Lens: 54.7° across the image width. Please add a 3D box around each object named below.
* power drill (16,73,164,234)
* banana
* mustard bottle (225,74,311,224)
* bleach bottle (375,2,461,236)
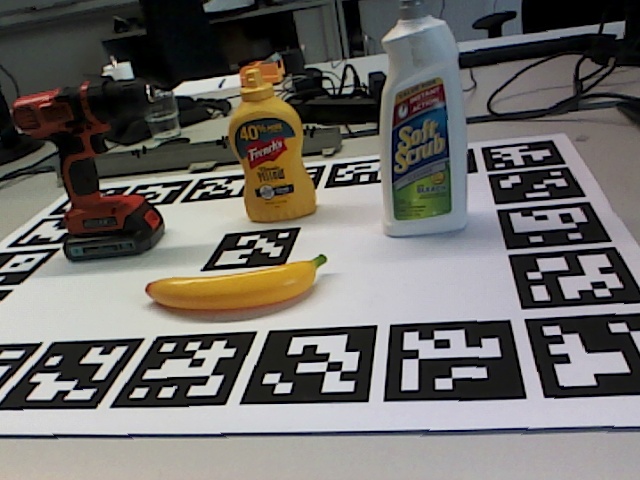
[{"bbox_3d":[-0.267,-0.108,0.783,0.185,0.186,0.057,-10,26,10],"label":"power drill"},{"bbox_3d":[-0.096,0.042,0.639,0.198,0.039,0.074,-9,28,10],"label":"banana"},{"bbox_3d":[-0.071,-0.117,0.795,0.096,0.191,0.058,-6,27,5],"label":"mustard bottle"},{"bbox_3d":[0.100,-0.128,0.683,0.103,0.250,0.068,0,28,20],"label":"bleach bottle"}]
